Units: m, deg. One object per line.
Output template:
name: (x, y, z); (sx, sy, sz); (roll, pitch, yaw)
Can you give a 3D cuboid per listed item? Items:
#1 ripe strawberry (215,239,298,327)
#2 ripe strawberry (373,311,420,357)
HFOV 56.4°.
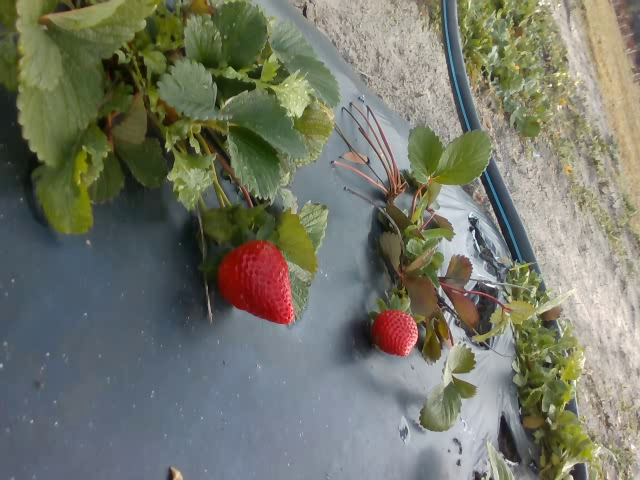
ripe strawberry: (-0.030, 0.027, 0.298); (0.046, 0.050, 0.050); (-30, 41, -18)
ripe strawberry: (0.055, 0.073, 0.422); (0.042, 0.044, 0.052); (2, 22, -4)
